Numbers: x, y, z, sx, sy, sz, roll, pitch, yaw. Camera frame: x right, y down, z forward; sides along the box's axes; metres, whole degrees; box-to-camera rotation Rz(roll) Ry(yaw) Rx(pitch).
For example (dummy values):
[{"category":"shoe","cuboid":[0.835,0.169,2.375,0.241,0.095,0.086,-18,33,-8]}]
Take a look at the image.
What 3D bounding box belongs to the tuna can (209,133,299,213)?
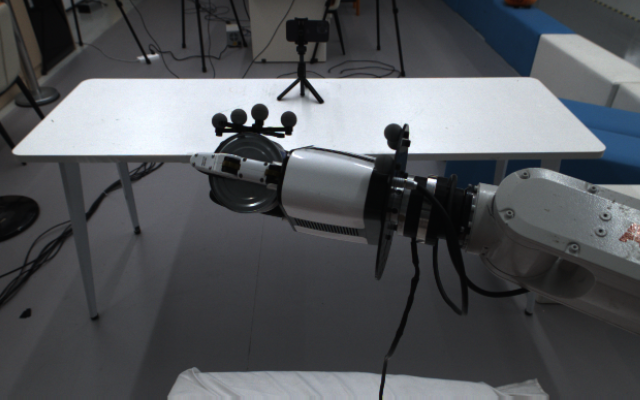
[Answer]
[{"category":"tuna can","cuboid":[-0.072,-0.028,0.523,0.085,0.085,0.034,12,0,14]}]
